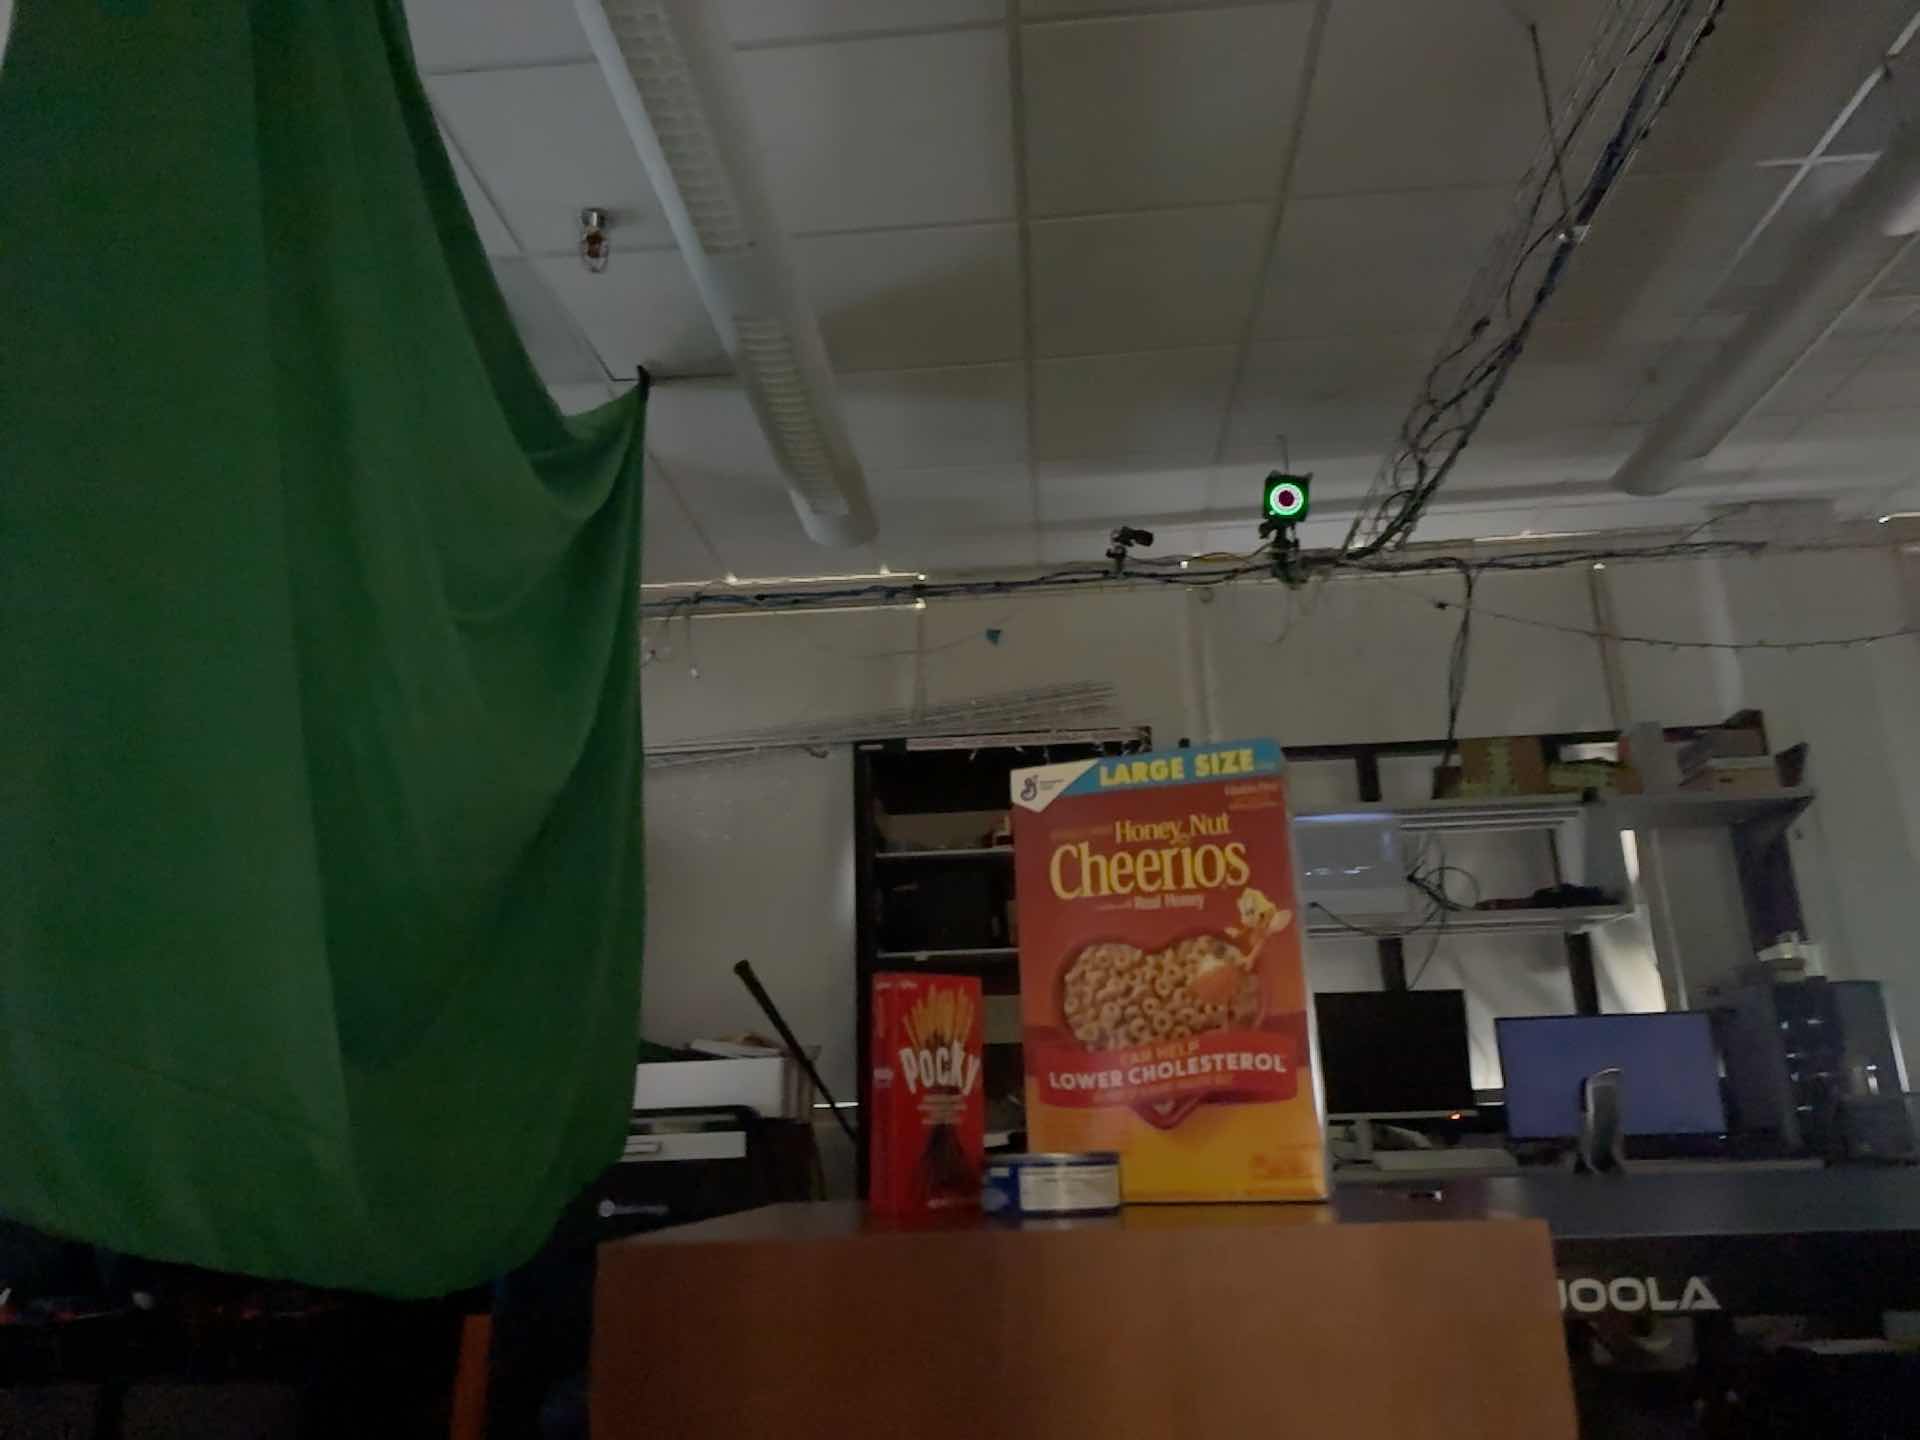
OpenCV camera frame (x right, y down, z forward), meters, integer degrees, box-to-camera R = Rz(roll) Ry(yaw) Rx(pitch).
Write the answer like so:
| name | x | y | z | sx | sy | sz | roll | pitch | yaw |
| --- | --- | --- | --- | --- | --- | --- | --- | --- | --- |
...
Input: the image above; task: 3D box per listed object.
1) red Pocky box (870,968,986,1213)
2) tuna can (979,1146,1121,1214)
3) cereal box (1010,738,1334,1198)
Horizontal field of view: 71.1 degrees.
| name | x | y | z | sx | sy | sz | roll | pitch | yaw |
| --- | --- | --- | --- | --- | --- | --- | --- | --- | --- |
| red Pocky box | -0.021 | 0.245 | 0.897 | 0.083 | 0.155 | 0.028 | 12 | -20 | -41 |
| tuna can | 0.054 | 0.276 | 0.808 | 0.083 | 0.034 | 0.083 | -2 | -16 | 0 |
| cereal box | 0.144 | 0.175 | 0.949 | 0.195 | 0.297 | 0.065 | -6 | -17 | 16 |
